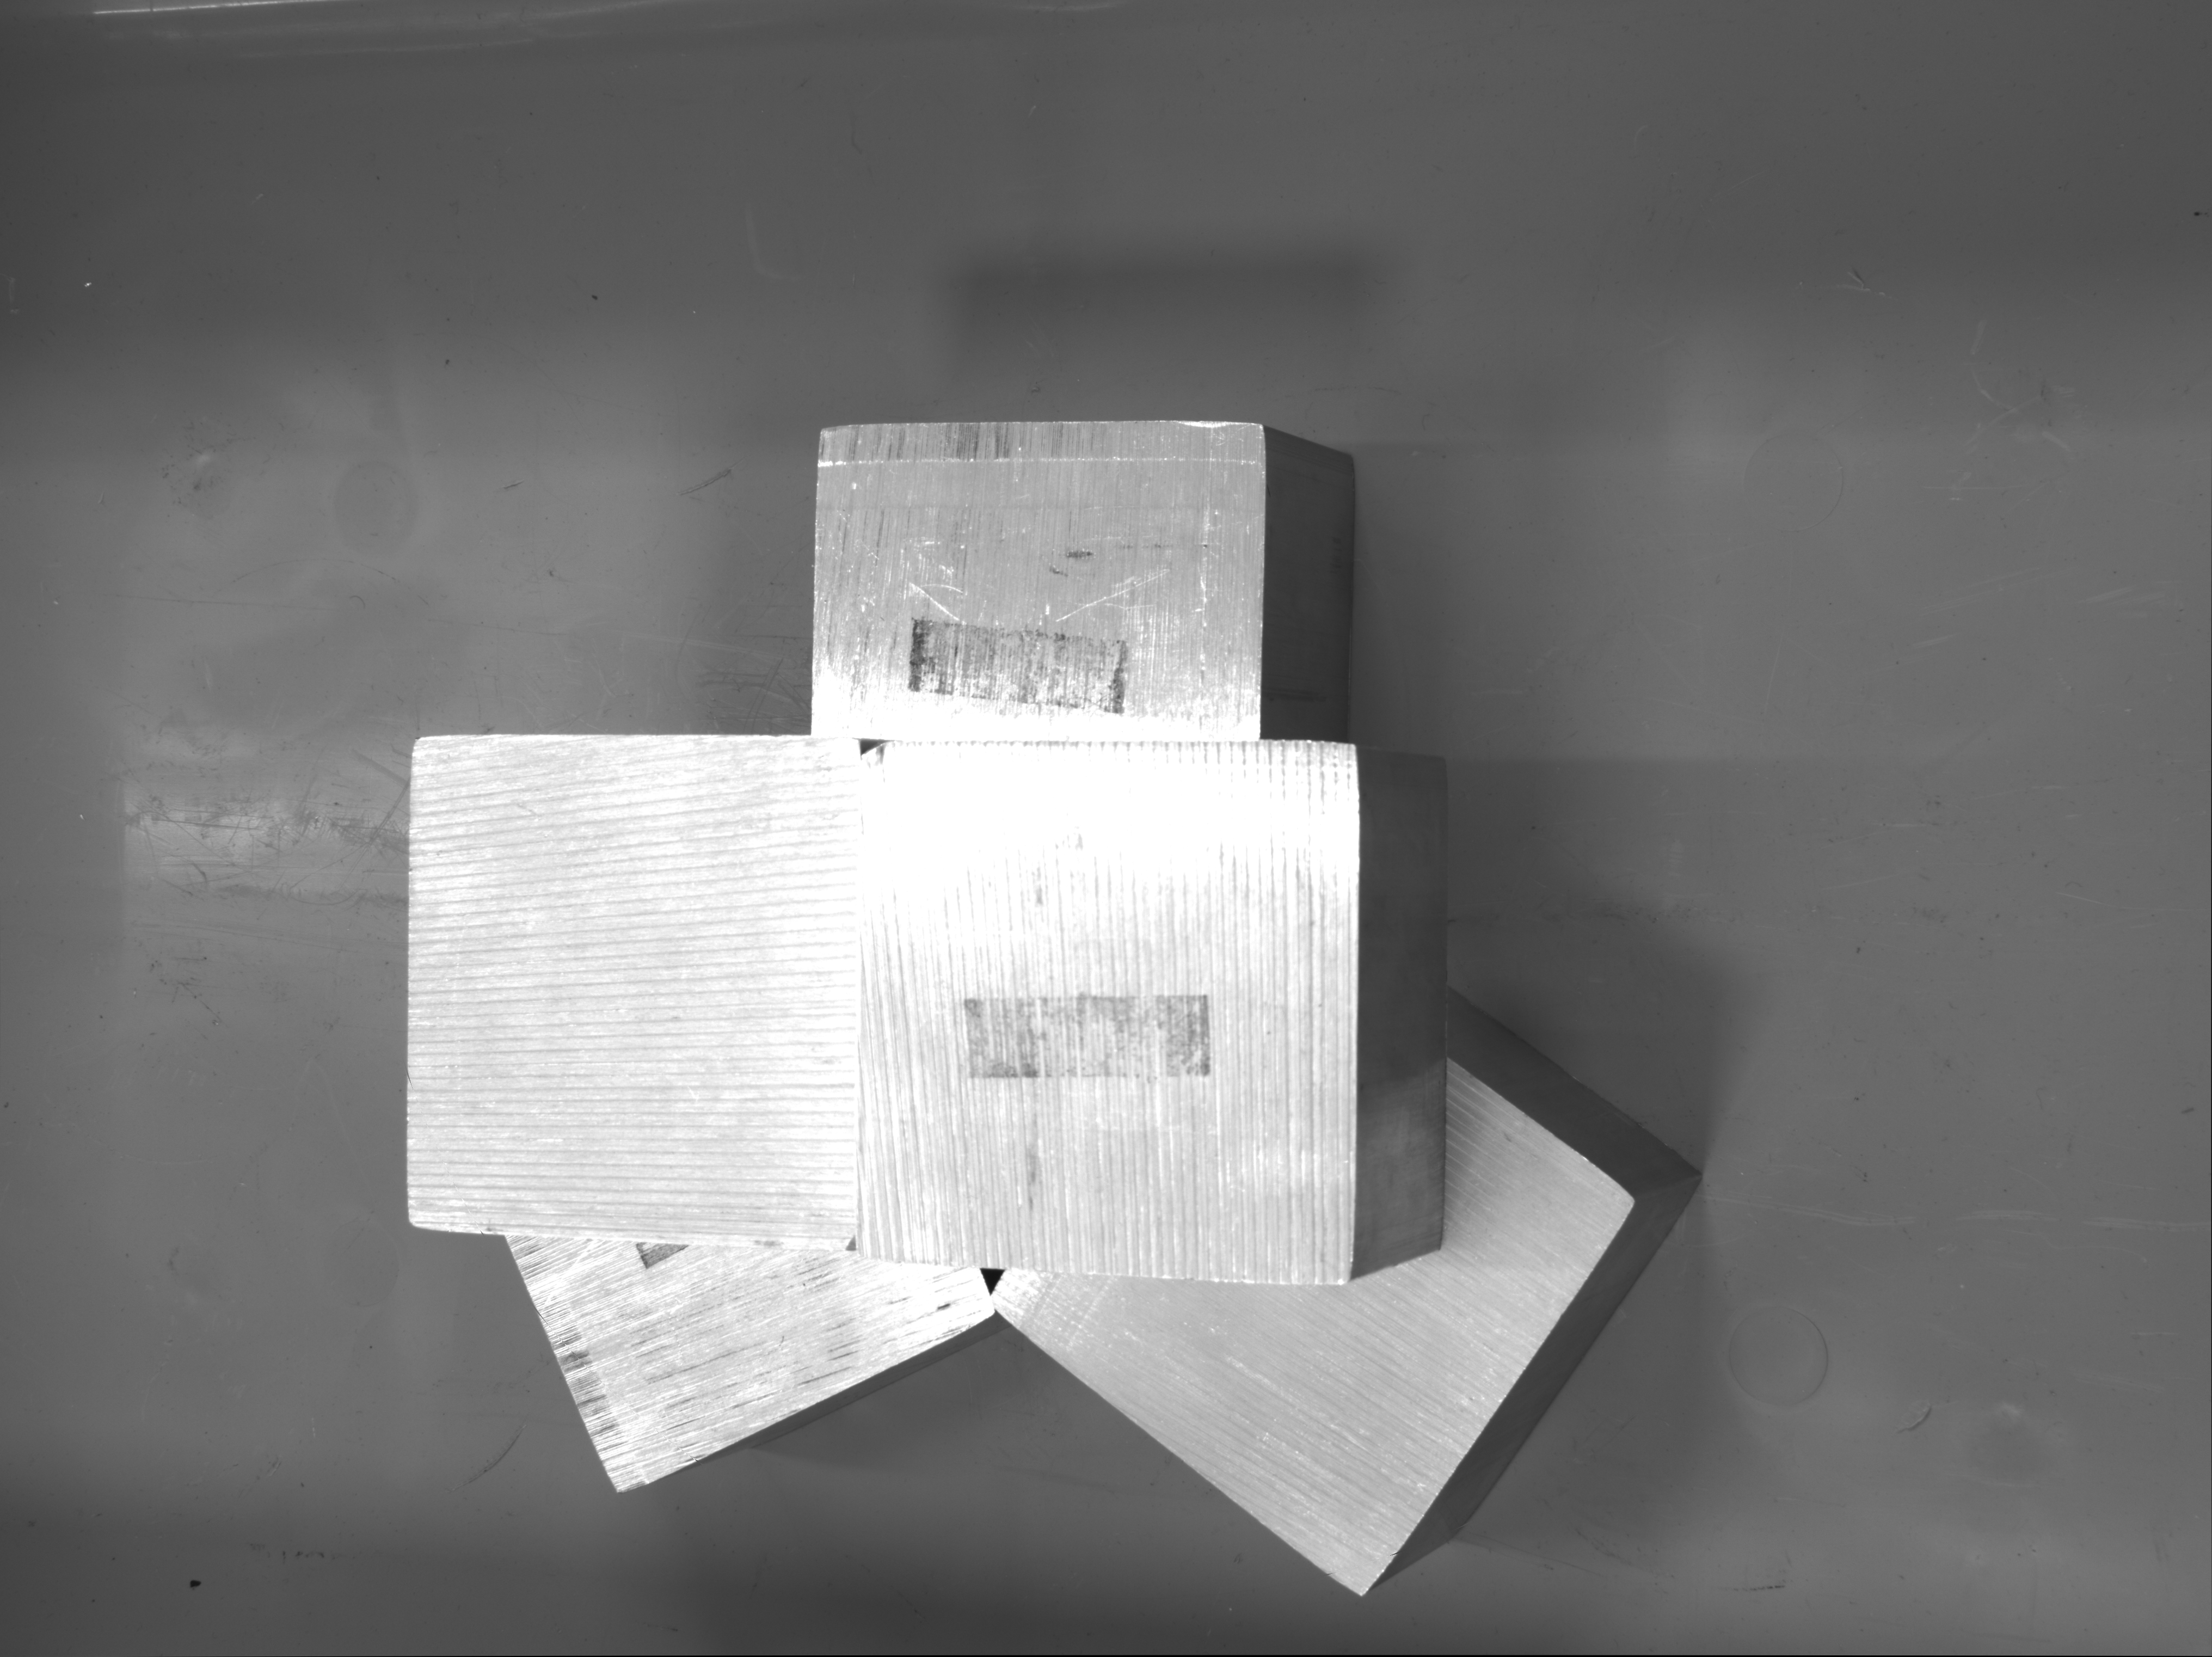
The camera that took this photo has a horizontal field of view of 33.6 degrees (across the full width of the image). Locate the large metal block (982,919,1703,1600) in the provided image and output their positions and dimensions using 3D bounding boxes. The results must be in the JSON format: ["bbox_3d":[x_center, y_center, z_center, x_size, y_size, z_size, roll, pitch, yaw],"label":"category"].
[{"bbox_3d":[0.040,0.068,0.616,0.080,0.050,0.080,36,102,17],"label":"large metal block"}]

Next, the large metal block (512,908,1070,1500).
[{"bbox_3d":[-0.059,0.063,0.653,0.080,0.050,0.080,-28,81,18],"label":"large metal block"}]

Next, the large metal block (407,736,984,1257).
[{"bbox_3d":[-0.066,0.026,0.602,0.080,0.050,0.080,1,90,20],"label":"large metal block"}]

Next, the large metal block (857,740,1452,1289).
[{"bbox_3d":[0.008,0.027,0.574,0.080,0.050,0.080,1,90,20],"label":"large metal block"}]

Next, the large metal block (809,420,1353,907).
[{"bbox_3d":[-0.004,-0.027,0.633,0.080,0.050,0.080,2,90,20],"label":"large metal block"}]
